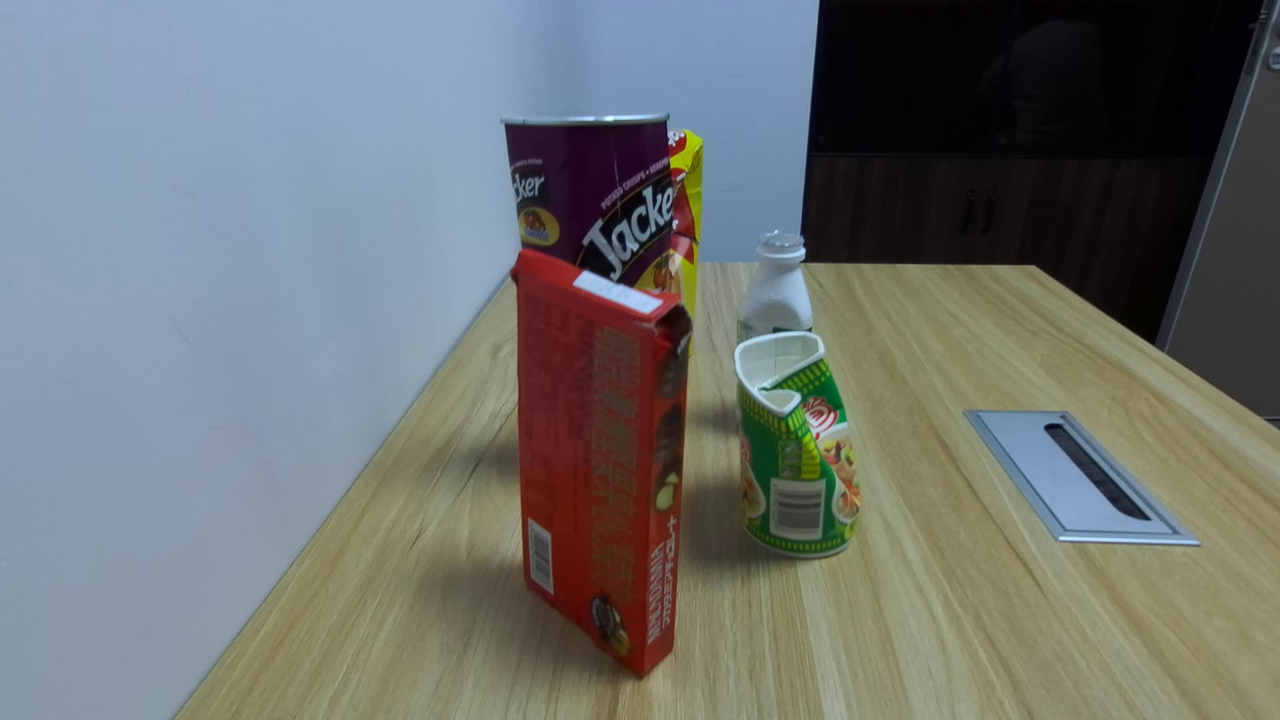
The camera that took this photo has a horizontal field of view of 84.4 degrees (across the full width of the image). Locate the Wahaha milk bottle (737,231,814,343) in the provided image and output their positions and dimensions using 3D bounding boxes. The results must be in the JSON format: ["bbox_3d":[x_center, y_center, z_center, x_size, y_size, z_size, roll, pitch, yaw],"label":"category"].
[{"bbox_3d":[0.098,-0.016,0.509,0.055,0.149,0.055,-1,27,1],"label":"Wahaha milk bottle"}]

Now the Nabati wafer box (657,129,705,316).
[{"bbox_3d":[0.010,-0.082,0.587,0.042,0.204,0.107,16,28,30],"label":"Nabati wafer box"}]

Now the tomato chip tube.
[{"bbox_3d":[-0.025,-0.031,0.448,0.077,0.235,0.076,11,24,36],"label":"tomato chip tube"}]

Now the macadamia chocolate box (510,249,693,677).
[{"bbox_3d":[-0.023,0.048,0.337,0.102,0.187,0.027,21,28,40],"label":"macadamia chocolate box"}]

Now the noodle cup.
[{"bbox_3d":[0.093,0.049,0.412,0.083,0.122,0.075,-26,26,-26],"label":"noodle cup"}]
